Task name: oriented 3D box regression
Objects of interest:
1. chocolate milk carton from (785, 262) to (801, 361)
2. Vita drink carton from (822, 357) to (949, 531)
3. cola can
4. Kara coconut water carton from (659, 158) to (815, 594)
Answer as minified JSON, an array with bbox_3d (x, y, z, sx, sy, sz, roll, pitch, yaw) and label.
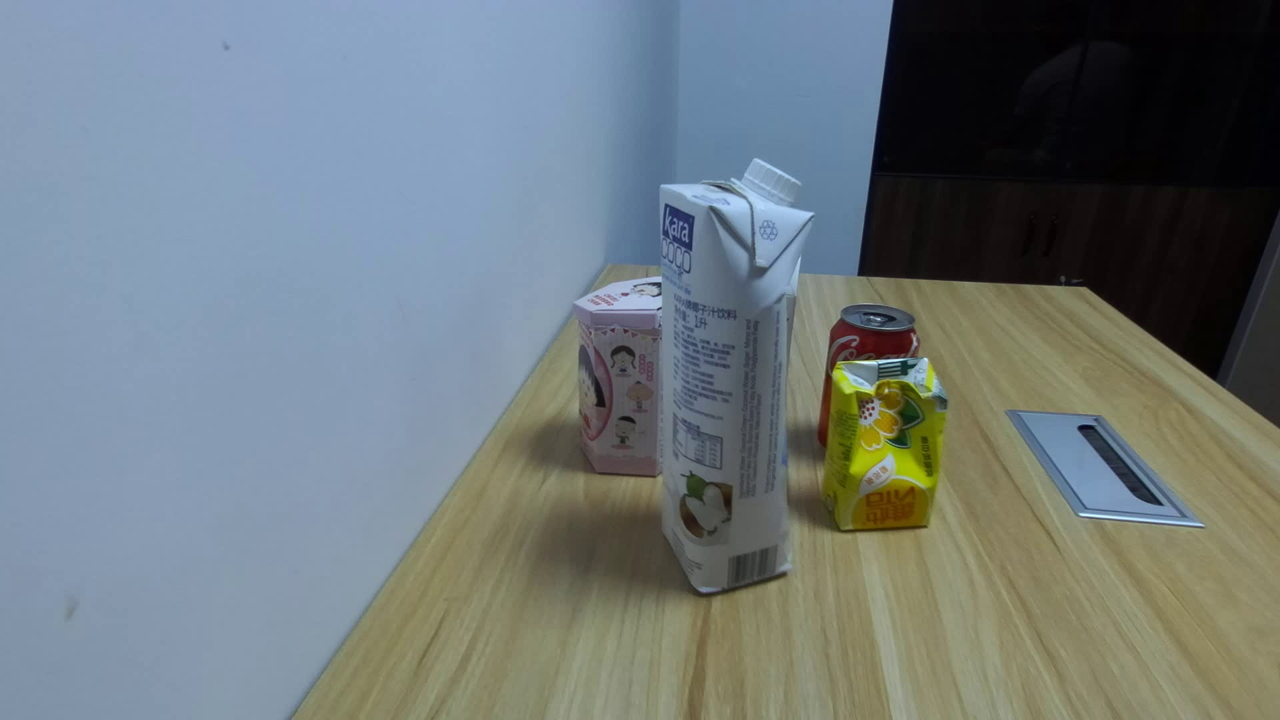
[{"bbox_3d":[0.116,-0.036,0.734,0.084,0.073,0.155,5,18,13],"label":"chocolate milk carton"},{"bbox_3d":[0.164,0.057,0.473,0.071,0.110,0.046,-2,22,-5],"label":"Vita drink carton"},{"bbox_3d":[0.178,0.018,0.554,0.068,0.120,0.068,2,25,0],"label":"cola can"},{"bbox_3d":[0.051,0.011,0.409,0.071,0.244,0.099,-7,26,-17],"label":"Kara coconut water carton"}]
